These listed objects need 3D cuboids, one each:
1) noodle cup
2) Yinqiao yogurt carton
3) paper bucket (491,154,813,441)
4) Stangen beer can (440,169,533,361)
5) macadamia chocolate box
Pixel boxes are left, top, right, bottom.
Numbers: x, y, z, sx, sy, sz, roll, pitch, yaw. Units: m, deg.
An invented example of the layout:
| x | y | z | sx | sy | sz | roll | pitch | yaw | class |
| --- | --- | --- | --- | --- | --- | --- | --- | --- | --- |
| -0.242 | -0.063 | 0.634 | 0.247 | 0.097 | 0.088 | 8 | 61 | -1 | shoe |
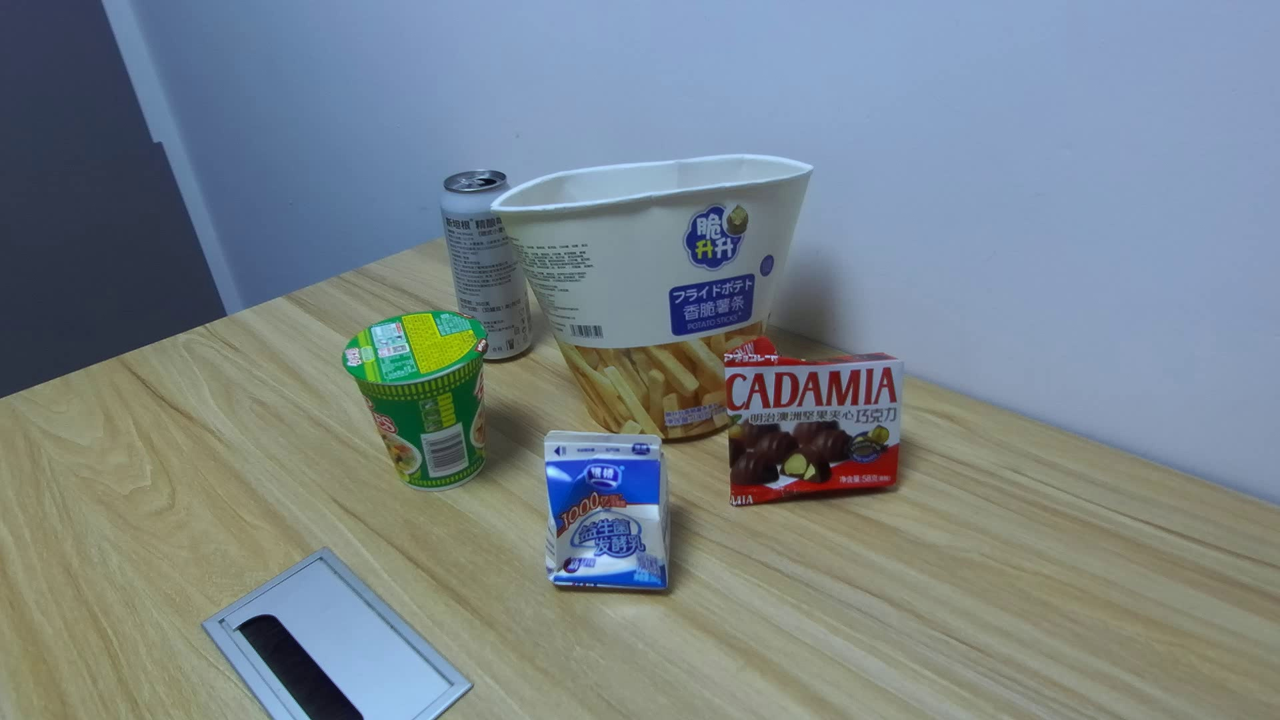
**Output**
| x | y | z | sx | sy | sz | roll | pitch | yaw | class |
| --- | --- | --- | --- | --- | --- | --- | --- | --- | --- |
| -0.156 | 0.035 | 0.523 | 0.097 | 0.110 | 0.097 | -1 | 31 | 1 | noodle cup |
| -0.019 | 0.086 | 0.448 | 0.077 | 0.094 | 0.071 | 1 | 25 | 5 | Yinqiao yogurt carton |
| 0.017 | -0.054 | 0.567 | 0.219 | 0.199 | 0.147 | -28 | 40 | -36 | paper bucket |
| -0.139 | -0.085 | 0.655 | 0.067 | 0.171 | 0.067 | -2 | 31 | 1 | Stangen beer can |
| 0.120 | 0.040 | 0.495 | 0.126 | 0.112 | 0.056 | -3 | 32 | -3 | macadamia chocolate box |
